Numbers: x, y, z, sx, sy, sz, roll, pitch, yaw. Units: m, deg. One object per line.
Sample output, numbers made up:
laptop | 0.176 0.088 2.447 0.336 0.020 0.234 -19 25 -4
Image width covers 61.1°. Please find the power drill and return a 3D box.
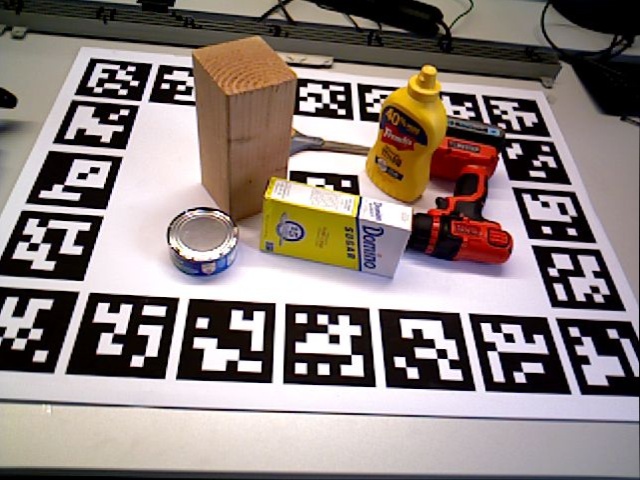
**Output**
power drill | 0.157 -0.063 0.730 0.184 0.058 0.184 14 60 3

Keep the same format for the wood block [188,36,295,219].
wood block | -0.098 -0.133 0.663 0.089 0.211 0.089 -20 60 -22

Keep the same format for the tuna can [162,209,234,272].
tuna can | -0.147 -0.005 0.655 0.085 0.034 0.084 4 54 -6

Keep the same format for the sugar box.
sugar box | 0.019 -0.015 0.654 0.176 0.095 0.044 15 49 1

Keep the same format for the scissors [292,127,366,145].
scissors | -0.031 -0.153 0.797 0.201 0.016 0.086 6 49 -4

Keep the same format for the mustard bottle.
mustard bottle | 0.117 -0.143 0.709 0.057 0.196 0.096 -32 65 -28
